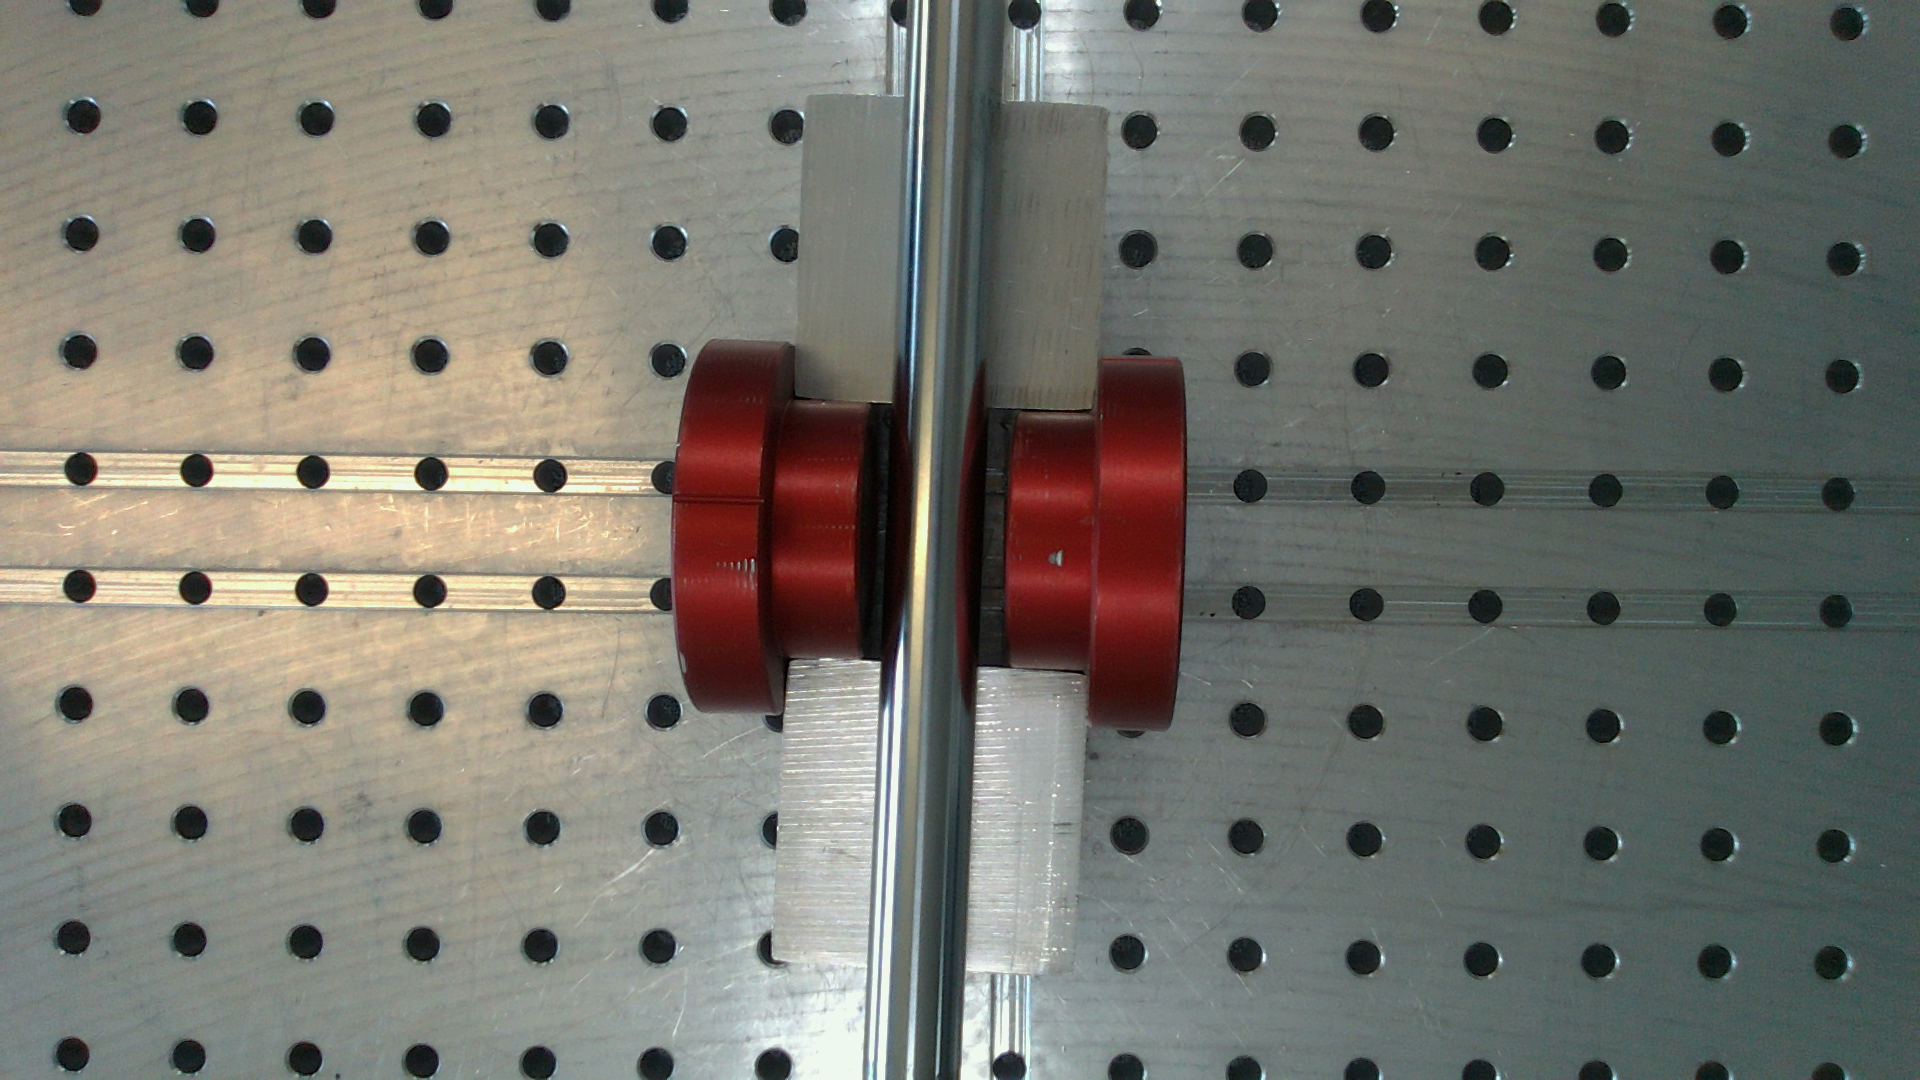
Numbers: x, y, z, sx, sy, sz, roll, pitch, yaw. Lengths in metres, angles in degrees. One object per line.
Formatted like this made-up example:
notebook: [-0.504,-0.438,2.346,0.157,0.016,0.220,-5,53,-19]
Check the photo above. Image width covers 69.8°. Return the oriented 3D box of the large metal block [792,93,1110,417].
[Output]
large metal block: [-0.002,-0.075,0.384,0.080,0.050,0.080,2,90,0]

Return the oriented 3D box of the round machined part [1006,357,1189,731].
round machined part: [0.035,0.001,0.361,0.042,0.098,0.098,2,90,5]

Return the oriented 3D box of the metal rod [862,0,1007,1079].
metal rod: [-0.007,0.014,0.347,0.025,0.025,0.300,2,90,0]

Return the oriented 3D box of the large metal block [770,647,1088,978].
large metal block: [-0.008,0.073,0.385,0.080,0.050,0.080,3,90,0]

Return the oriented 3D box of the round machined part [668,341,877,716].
round machined part: [-0.045,-0.003,0.360,0.042,0.098,0.098,2,90,0]
